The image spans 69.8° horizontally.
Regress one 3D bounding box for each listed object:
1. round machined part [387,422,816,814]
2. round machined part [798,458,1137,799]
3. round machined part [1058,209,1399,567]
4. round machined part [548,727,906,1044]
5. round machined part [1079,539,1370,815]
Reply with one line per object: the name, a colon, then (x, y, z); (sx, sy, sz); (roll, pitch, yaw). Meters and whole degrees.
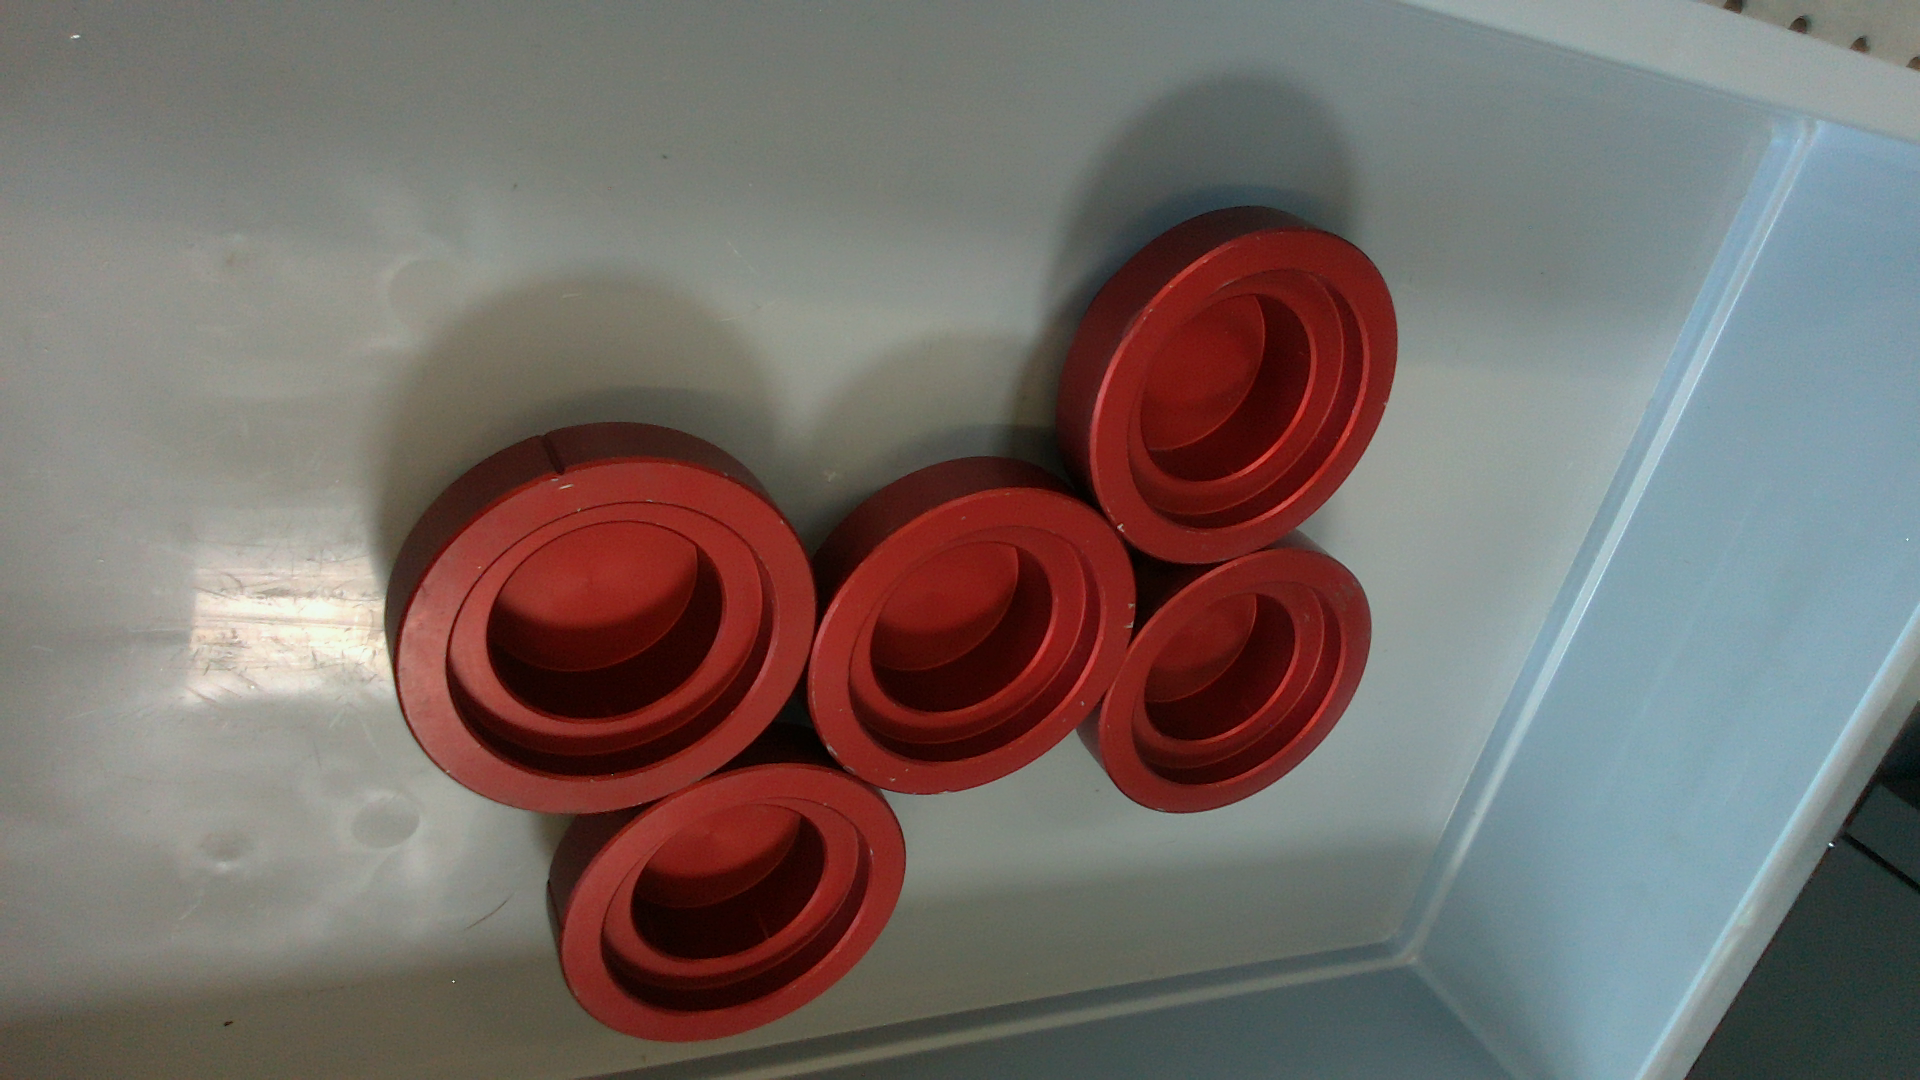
round machined part: (-0.088, 0.015, 0.337); (0.098, 0.042, 0.098); (-14, 124, -21)
round machined part: (-0.003, 0.021, 0.386); (0.098, 0.042, 0.098); (-14, 124, -21)
round machined part: (0.070, -0.045, 0.386); (0.098, 0.042, 0.098); (-14, 124, -21)
round machined part: (-0.068, 0.093, 0.395); (0.098, 0.042, 0.098); (-14, 124, -21)
round machined part: (0.078, 0.036, 0.440); (0.098, 0.042, 0.098); (-14, 124, -21)
